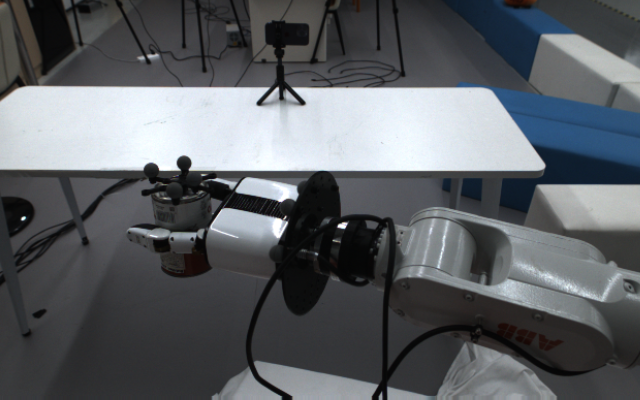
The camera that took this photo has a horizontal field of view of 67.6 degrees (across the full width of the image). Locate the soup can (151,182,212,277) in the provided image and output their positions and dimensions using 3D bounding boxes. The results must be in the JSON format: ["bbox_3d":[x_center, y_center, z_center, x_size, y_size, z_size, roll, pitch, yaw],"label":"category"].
[{"bbox_3d":[-0.161,0.034,0.579,0.067,0.101,0.067,1,25,0],"label":"soup can"}]
